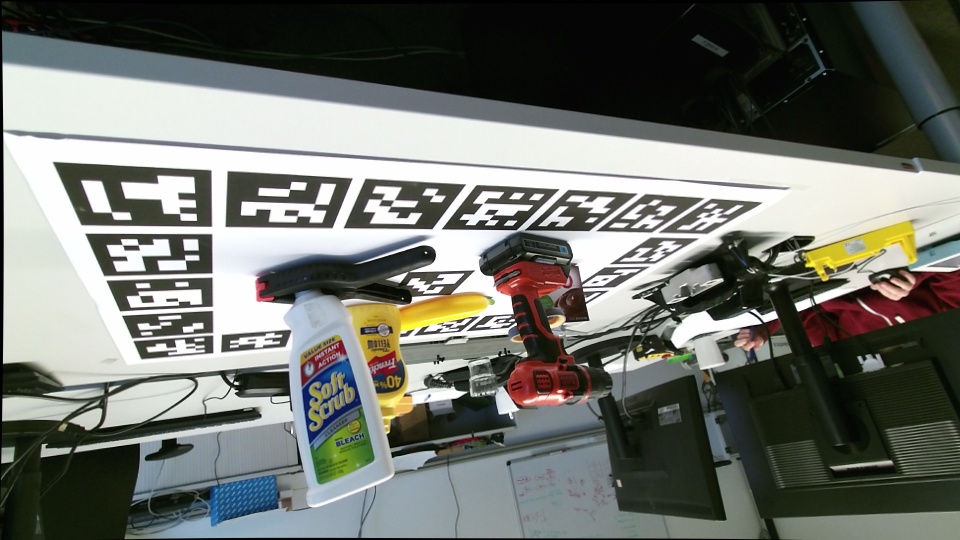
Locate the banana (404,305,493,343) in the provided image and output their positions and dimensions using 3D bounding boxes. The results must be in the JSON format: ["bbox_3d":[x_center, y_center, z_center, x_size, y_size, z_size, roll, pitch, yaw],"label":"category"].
[{"bbox_3d":[-0.074,0.091,0.892,0.198,0.038,0.074,-17,175,10],"label":"banana"}]

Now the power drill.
[{"bbox_3d":[0.109,0.079,0.700,0.185,0.186,0.057,2,161,-40],"label":"power drill"}]

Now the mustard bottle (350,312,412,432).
[{"bbox_3d":[-0.152,0.146,0.809,0.096,0.190,0.058,7,152,-39],"label":"mustard bottle"}]

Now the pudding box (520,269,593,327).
[{"bbox_3d":[0.112,0.044,0.822,0.114,0.089,0.039,1,162,-30],"label":"pudding box"}]

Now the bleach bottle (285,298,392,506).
[{"bbox_3d":[-0.182,0.133,0.629,0.103,0.249,0.068,-16,164,-12],"label":"bleach bottle"}]

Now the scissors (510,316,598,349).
[{"bbox_3d":[0.130,0.105,0.809,0.088,0.016,0.203,-32,147,31],"label":"scissors"}]

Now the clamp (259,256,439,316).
[{"bbox_3d":[-0.166,0.031,0.669,0.204,0.036,0.165,-3,155,-20],"label":"clamp"}]
